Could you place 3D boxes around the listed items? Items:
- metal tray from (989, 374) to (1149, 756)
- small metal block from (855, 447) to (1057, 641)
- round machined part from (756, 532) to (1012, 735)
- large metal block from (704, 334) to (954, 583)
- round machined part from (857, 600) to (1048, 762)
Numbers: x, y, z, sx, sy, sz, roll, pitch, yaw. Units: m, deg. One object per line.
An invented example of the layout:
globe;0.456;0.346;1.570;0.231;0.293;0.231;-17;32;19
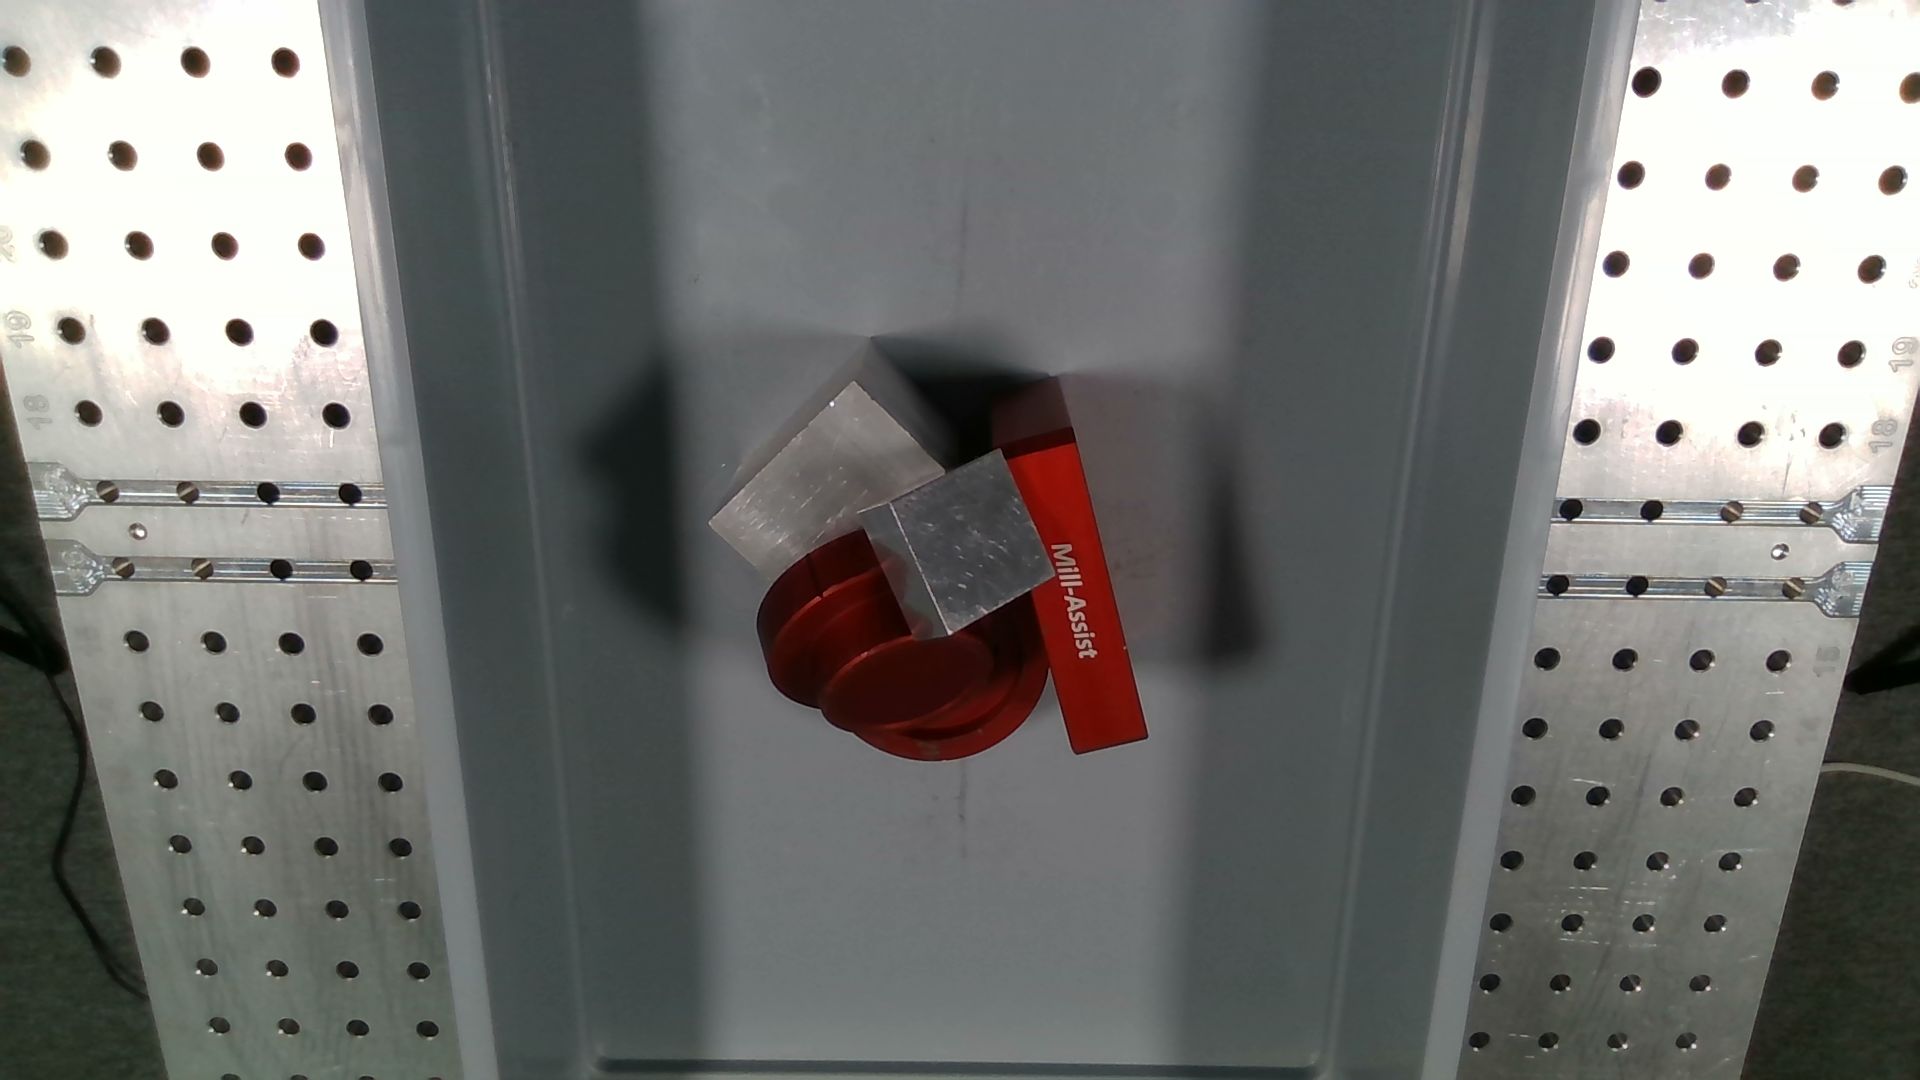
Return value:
metal tray;0.043;0.008;0.551;0.030;0.090;0.130;-14;110;6
small metal block;-0.001;0.001;0.486;0.050;0.025;0.050;-28;97;-30
round machined part;-0.026;0.039;0.527;0.098;0.042;0.098;-15;146;-10
large metal block;-0.049;-0.028;0.544;0.080;0.080;0.050;-42;105;14
round machined part;-0.011;0.042;0.591;0.098;0.042;0.098;0;110;0
